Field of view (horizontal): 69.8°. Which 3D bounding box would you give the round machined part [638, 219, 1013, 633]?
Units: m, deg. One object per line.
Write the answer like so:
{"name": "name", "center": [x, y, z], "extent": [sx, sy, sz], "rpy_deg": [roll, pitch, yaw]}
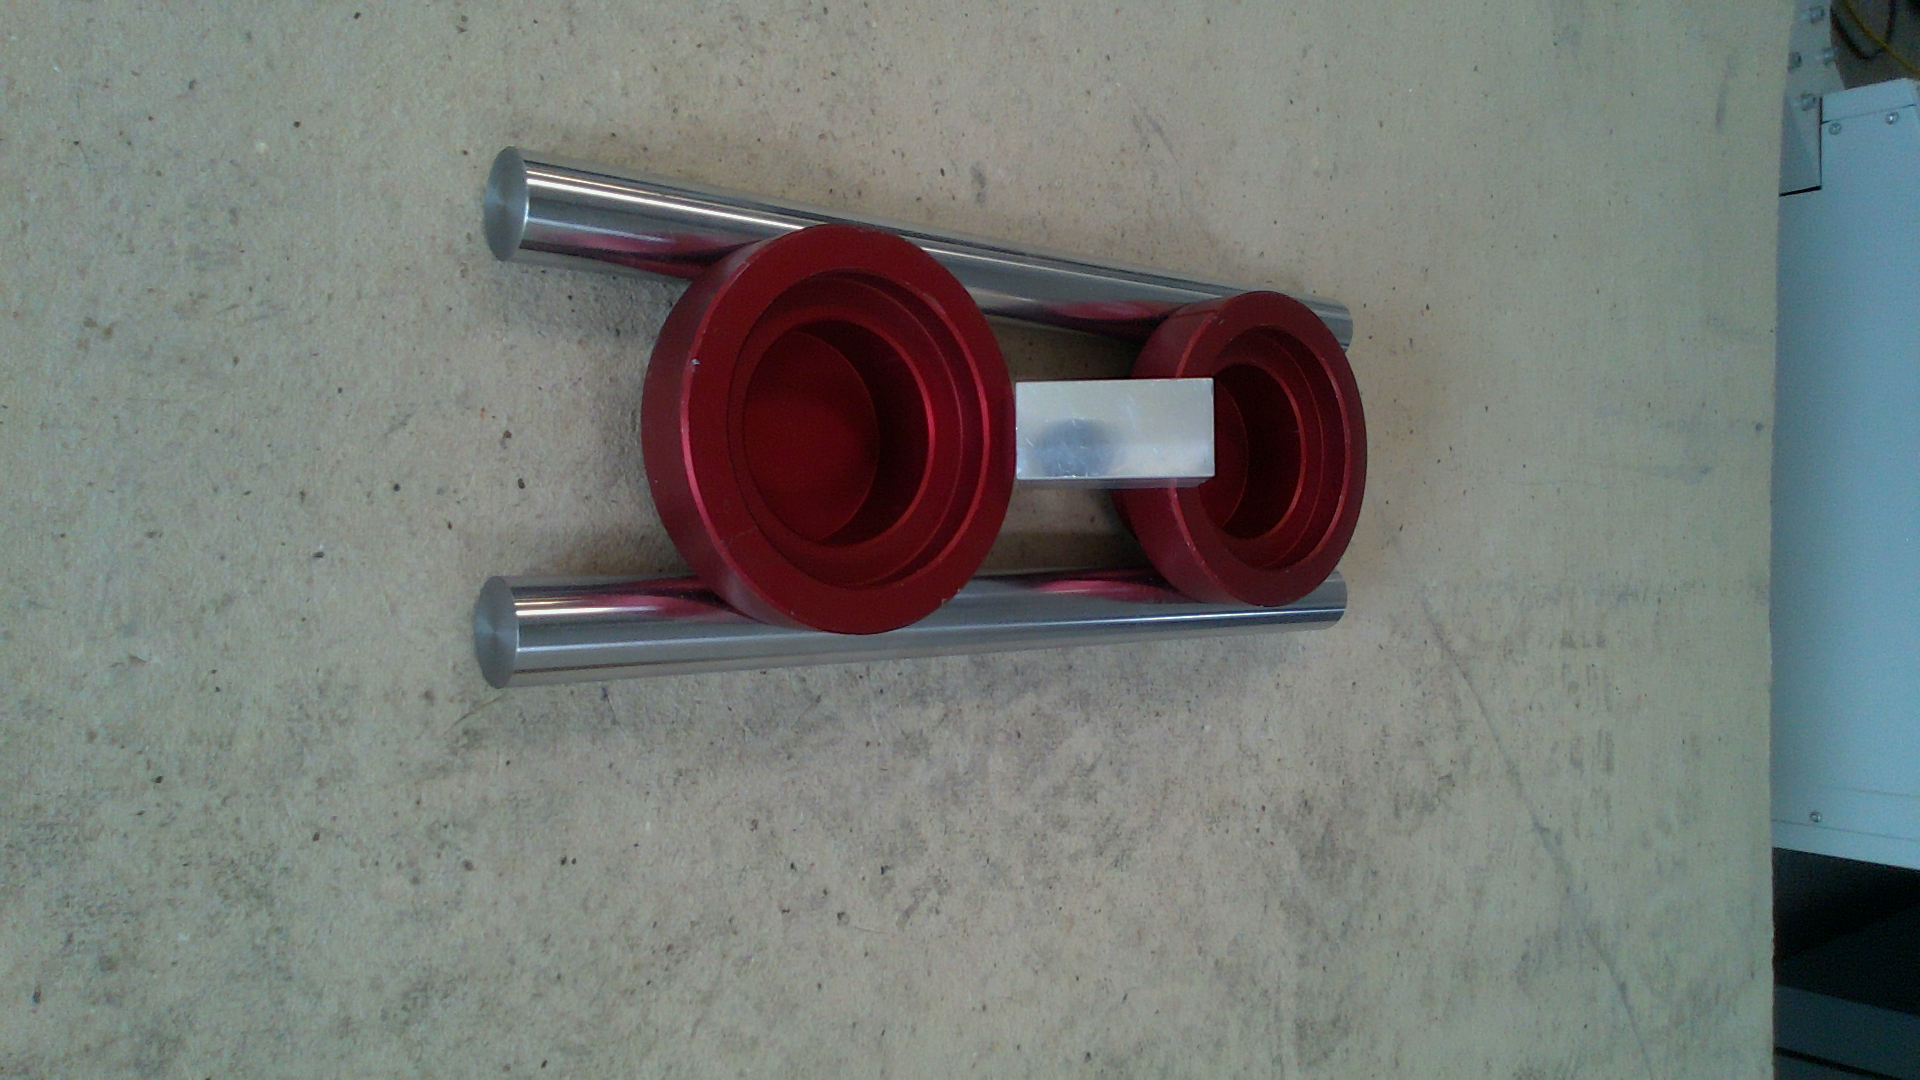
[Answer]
{"name": "round machined part", "center": [-0.036, -0.027, 0.342], "extent": [0.098, 0.042, 0.098], "rpy_deg": [0, 90, -40]}

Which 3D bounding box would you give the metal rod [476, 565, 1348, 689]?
{"name": "metal rod", "center": [0.013, 0.020, 0.400], "extent": [0.301, 0.025, 0.025], "rpy_deg": [0, 90, -40]}

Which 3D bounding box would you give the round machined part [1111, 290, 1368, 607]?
{"name": "round machined part", "center": [0.085, -0.028, 0.442], "extent": [0.098, 0.042, 0.098], "rpy_deg": [0, 90, -40]}

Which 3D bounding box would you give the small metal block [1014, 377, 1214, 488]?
{"name": "small metal block", "center": [0.040, -0.028, 0.372], "extent": [0.050, 0.050, 0.025], "rpy_deg": [-1, 89, 3]}

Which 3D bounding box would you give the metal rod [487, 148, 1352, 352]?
{"name": "metal rod", "center": [0.015, -0.074, 0.401], "extent": [0.301, 0.025, 0.025], "rpy_deg": [0, 90, -40]}
